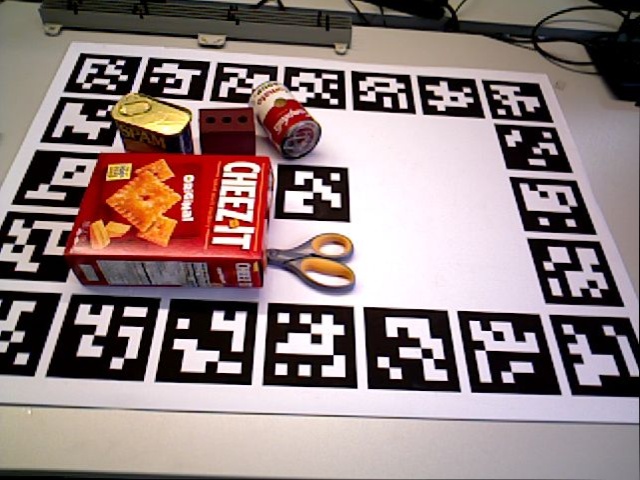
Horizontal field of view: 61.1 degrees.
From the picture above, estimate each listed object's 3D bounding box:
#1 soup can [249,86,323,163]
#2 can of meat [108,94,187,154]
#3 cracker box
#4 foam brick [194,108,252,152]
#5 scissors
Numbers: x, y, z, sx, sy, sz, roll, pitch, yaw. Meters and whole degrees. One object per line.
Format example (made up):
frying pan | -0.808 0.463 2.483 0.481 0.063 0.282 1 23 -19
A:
soup can | -0.052 -0.166 0.777 0.066 0.069 0.102 -30 57 -23
can of meat | -0.227 -0.139 0.722 0.101 0.085 0.056 15 55 5
cracker box | -0.176 -0.026 0.640 0.212 0.073 0.162 -3 55 -2
foam brick | -0.134 -0.149 0.759 0.077 0.052 0.052 -5 57 -9
scissors | -0.065 0.028 0.651 0.201 0.016 0.086 -1 56 -5
